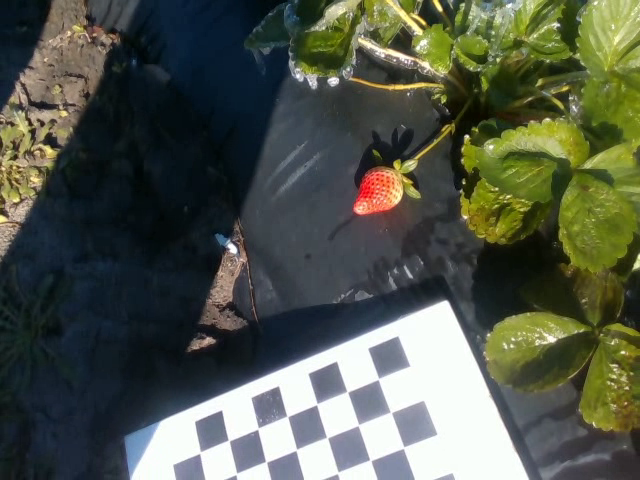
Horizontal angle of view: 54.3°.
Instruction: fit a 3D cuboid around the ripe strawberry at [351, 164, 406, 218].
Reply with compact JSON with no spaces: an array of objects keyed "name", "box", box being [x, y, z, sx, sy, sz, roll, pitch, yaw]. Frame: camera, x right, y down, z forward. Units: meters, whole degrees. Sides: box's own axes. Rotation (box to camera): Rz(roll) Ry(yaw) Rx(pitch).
[{"name":"ripe strawberry","box":[0.045,-0.035,0.477,0.053,0.039,0.041,-35,-31,-16]}]
